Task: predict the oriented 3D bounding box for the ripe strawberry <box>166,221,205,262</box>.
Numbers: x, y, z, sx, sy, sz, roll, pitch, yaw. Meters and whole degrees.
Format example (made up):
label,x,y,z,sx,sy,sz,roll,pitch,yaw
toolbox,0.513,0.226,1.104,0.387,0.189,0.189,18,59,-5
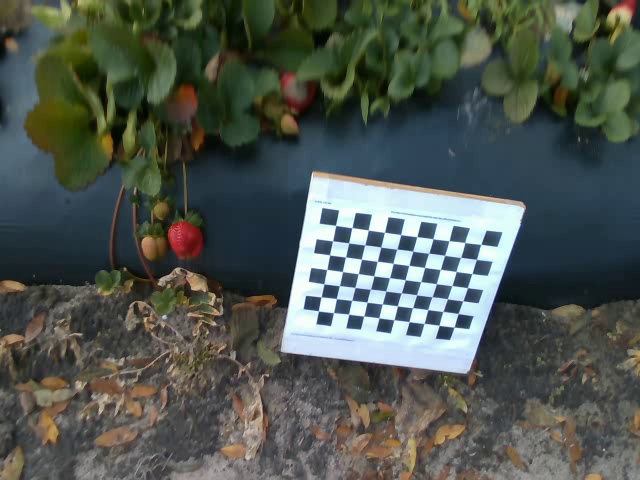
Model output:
label,x,y,z,sx,sy,sz,roll,pitch,yaw
ripe strawberry,-0.208,0.000,0.872,0.066,0.075,0.053,-10,21,1
